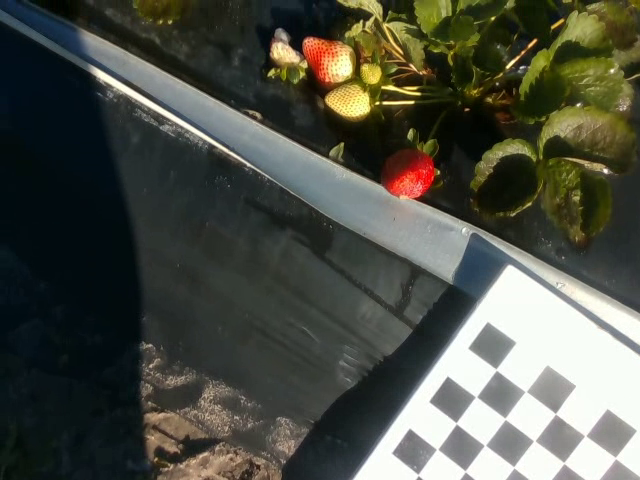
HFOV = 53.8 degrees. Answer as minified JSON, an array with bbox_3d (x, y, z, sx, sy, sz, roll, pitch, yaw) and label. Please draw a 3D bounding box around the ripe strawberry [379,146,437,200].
[{"bbox_3d":[0.049,-0.038,0.372,0.036,0.038,0.045,34,23,11],"label":"ripe strawberry"}]
